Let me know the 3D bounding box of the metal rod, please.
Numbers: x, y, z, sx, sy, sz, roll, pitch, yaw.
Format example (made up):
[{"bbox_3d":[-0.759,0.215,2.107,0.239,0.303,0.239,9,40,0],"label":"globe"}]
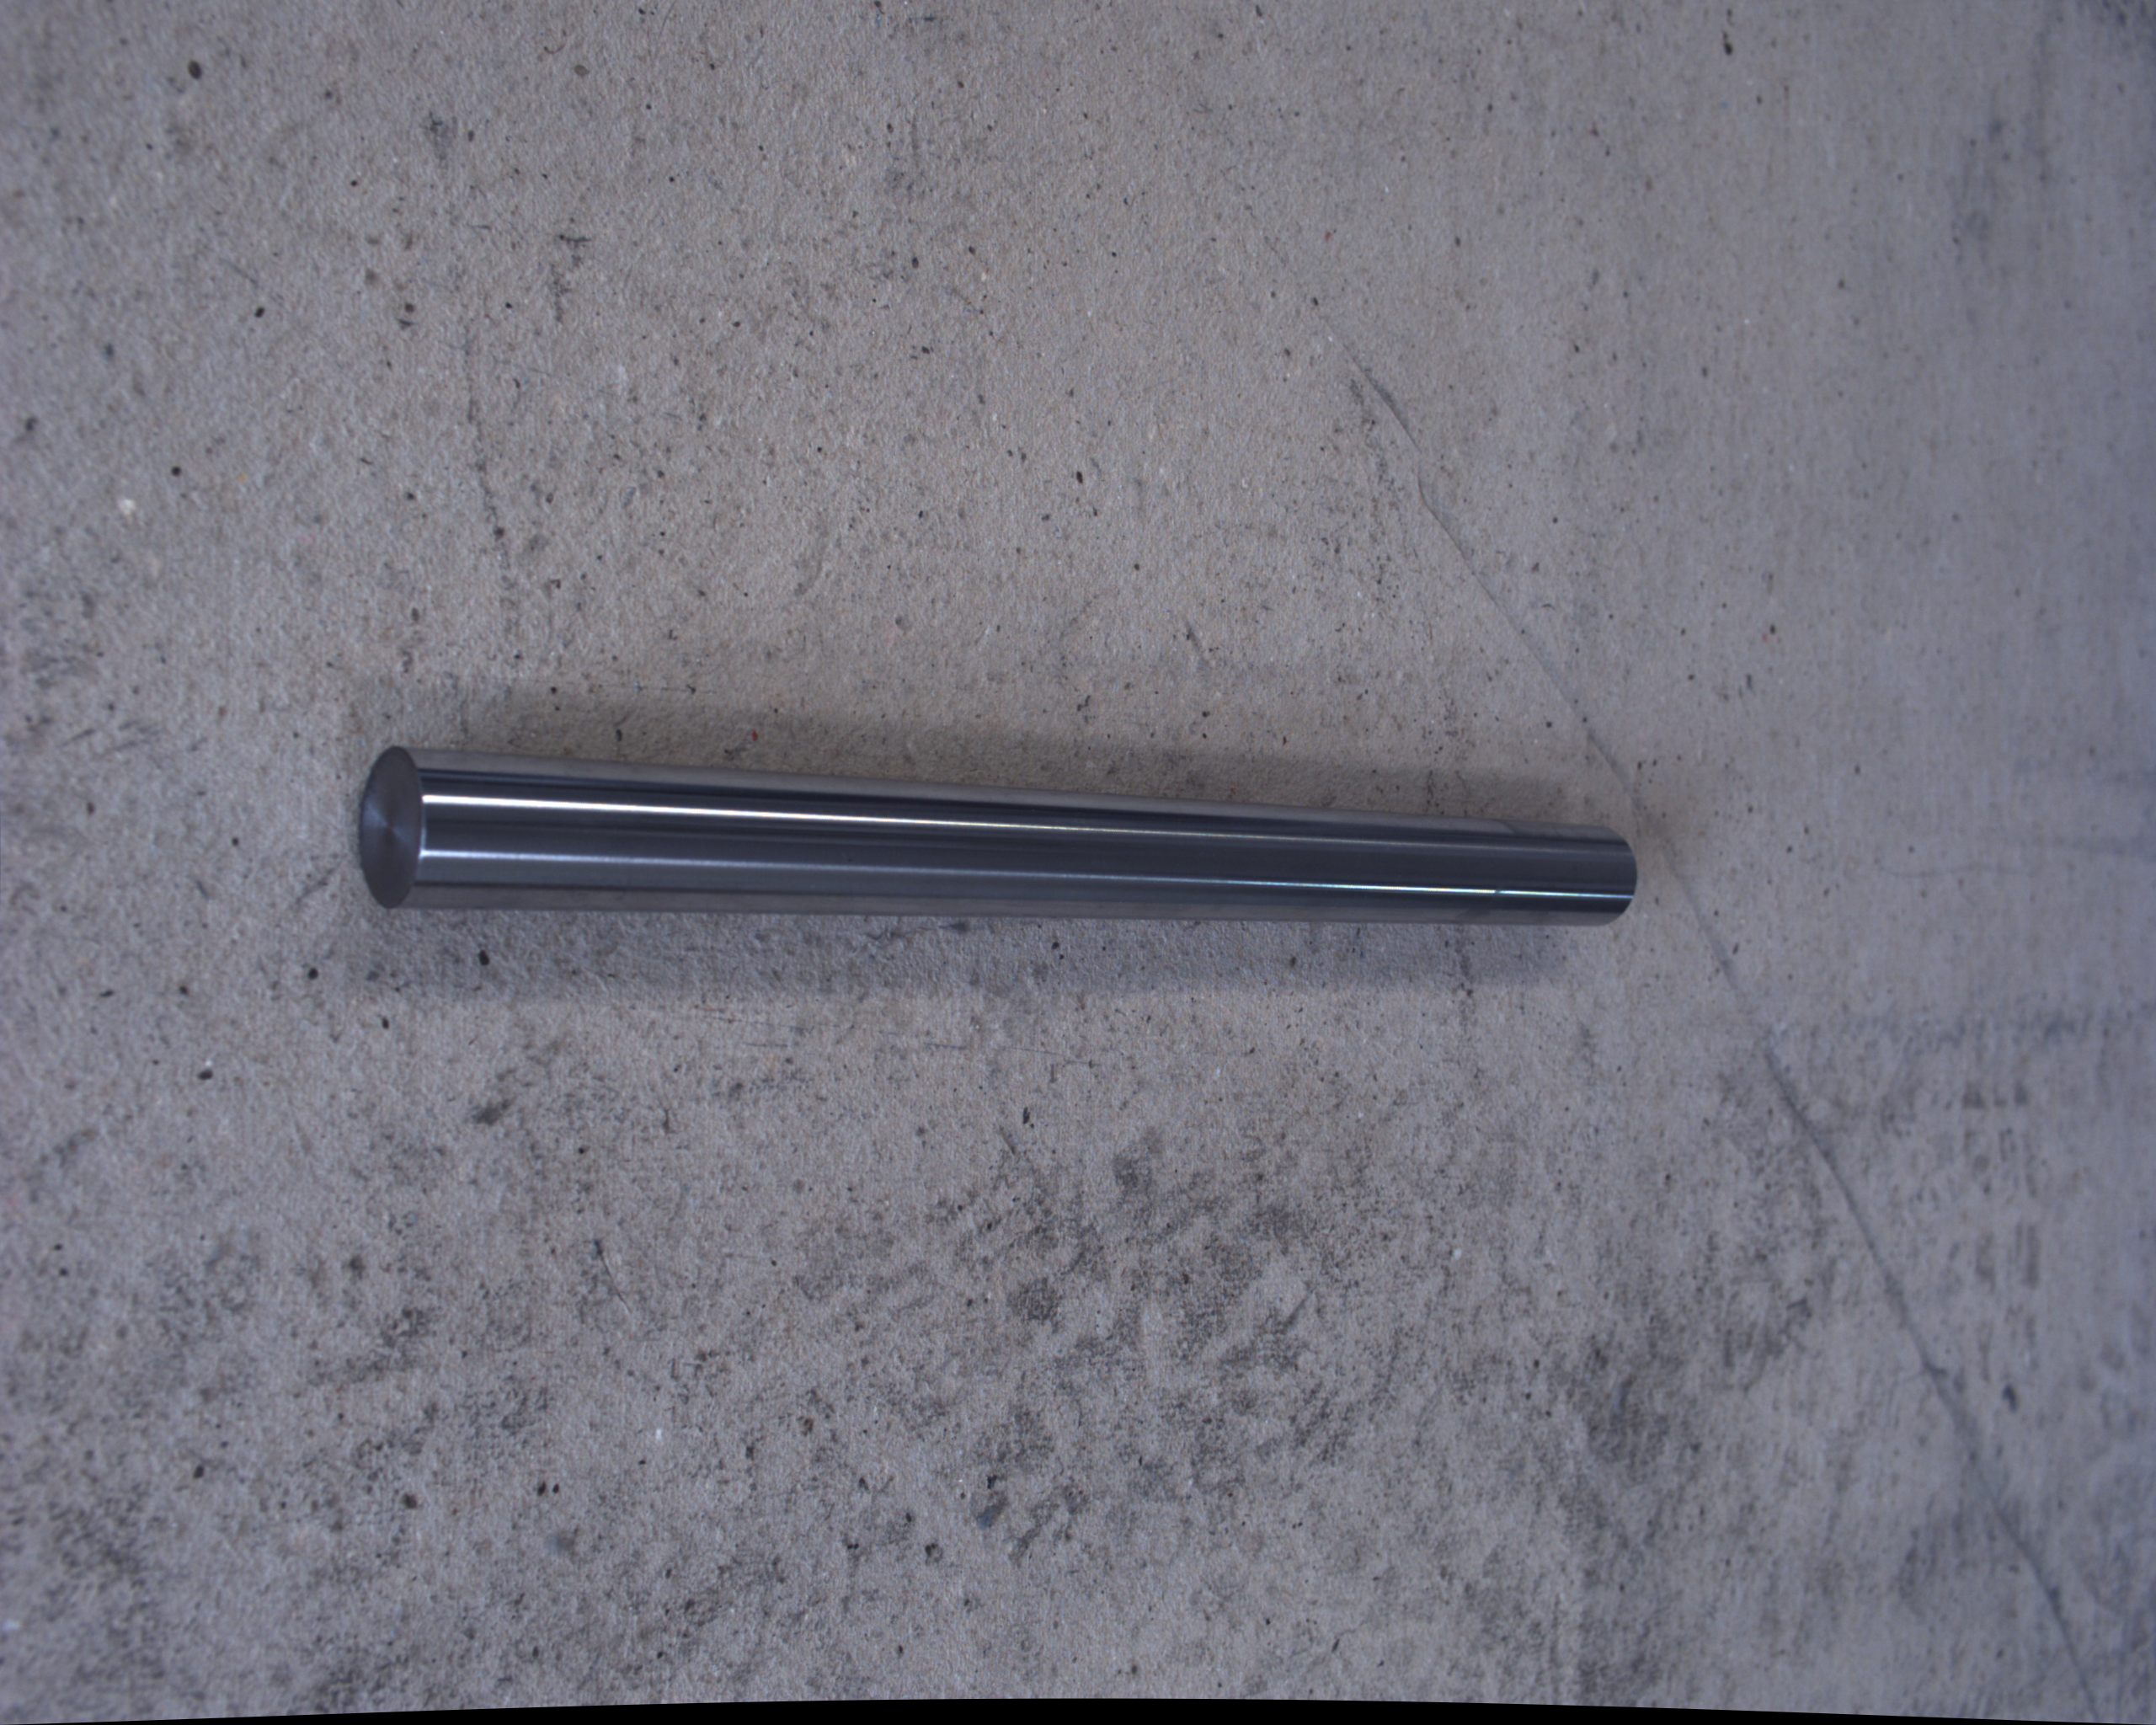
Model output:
[{"bbox_3d":[0.011,-0.001,0.415,0.302,0.025,0.025,2,89,-40],"label":"metal rod"}]
